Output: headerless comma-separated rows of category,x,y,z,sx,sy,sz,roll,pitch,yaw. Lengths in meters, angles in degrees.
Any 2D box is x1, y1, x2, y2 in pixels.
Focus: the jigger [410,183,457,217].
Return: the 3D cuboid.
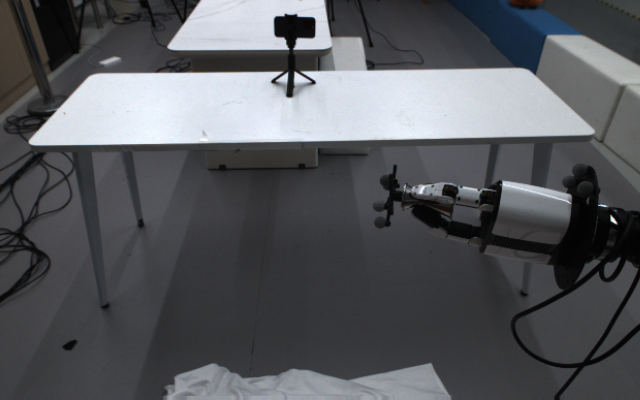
jigger,0.155,-0.005,0.660,0.071,0.043,0.043,7,35,15
